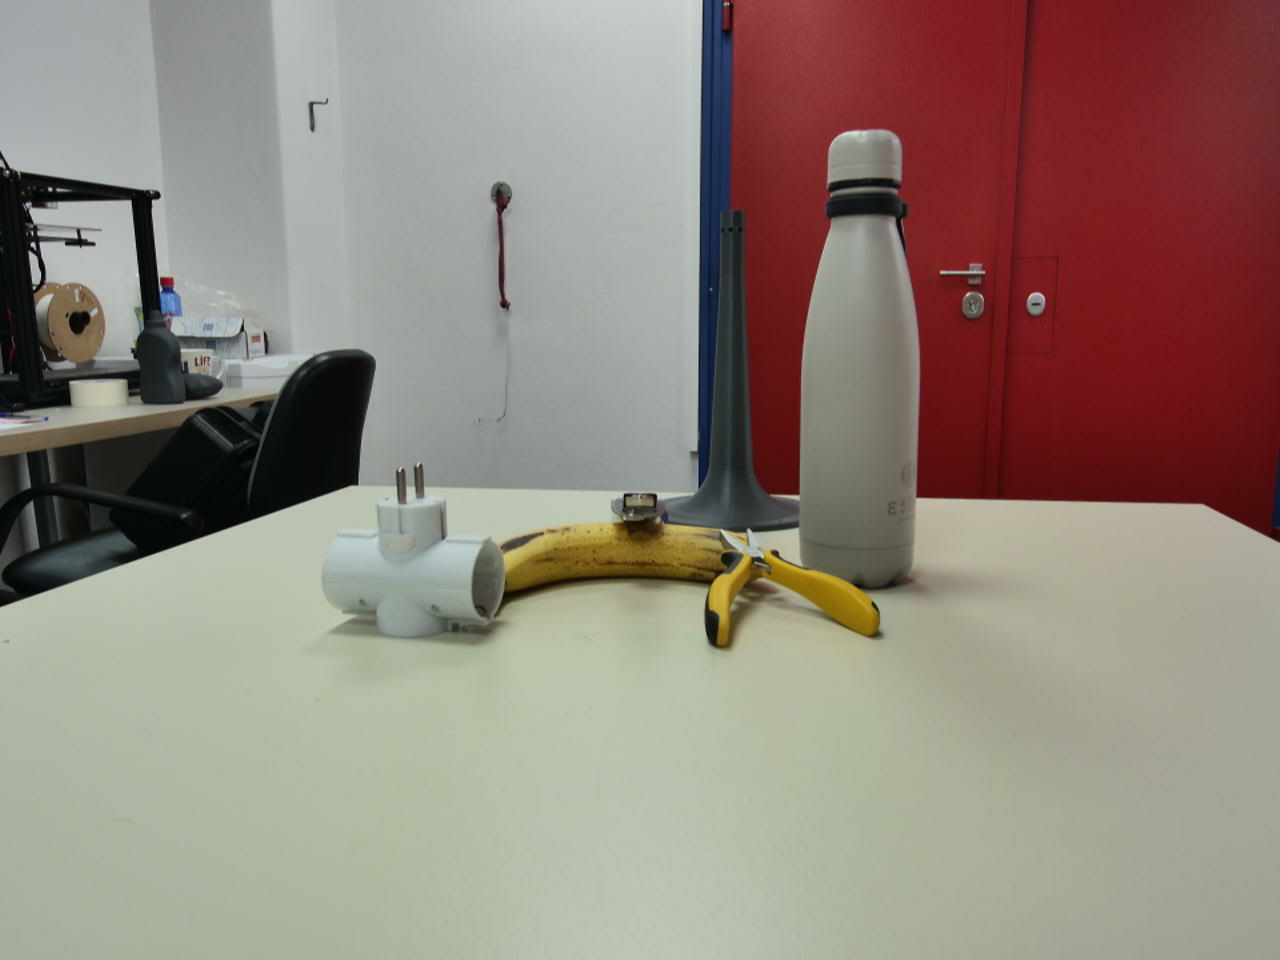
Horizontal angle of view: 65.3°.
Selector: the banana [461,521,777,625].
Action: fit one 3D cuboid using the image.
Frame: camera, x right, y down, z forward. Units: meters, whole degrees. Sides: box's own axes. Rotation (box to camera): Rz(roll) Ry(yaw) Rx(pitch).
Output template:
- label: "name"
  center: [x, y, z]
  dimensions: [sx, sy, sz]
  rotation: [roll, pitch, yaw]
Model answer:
- label: "banana"
  center: [-0.018, 0.050, 0.618]
  dimensions: [0.186, 0.038, 0.097]
  rotation: [-3, 8, -16]
